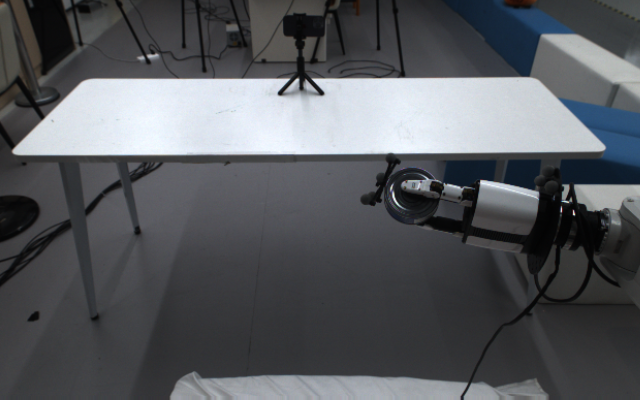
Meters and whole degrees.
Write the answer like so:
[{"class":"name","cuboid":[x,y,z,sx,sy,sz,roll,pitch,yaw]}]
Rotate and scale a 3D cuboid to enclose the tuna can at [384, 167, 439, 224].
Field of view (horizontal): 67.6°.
[{"class":"tuna can","cuboid":[0.144,-0.009,0.748,0.085,0.034,0.085,-2,71,5]}]
